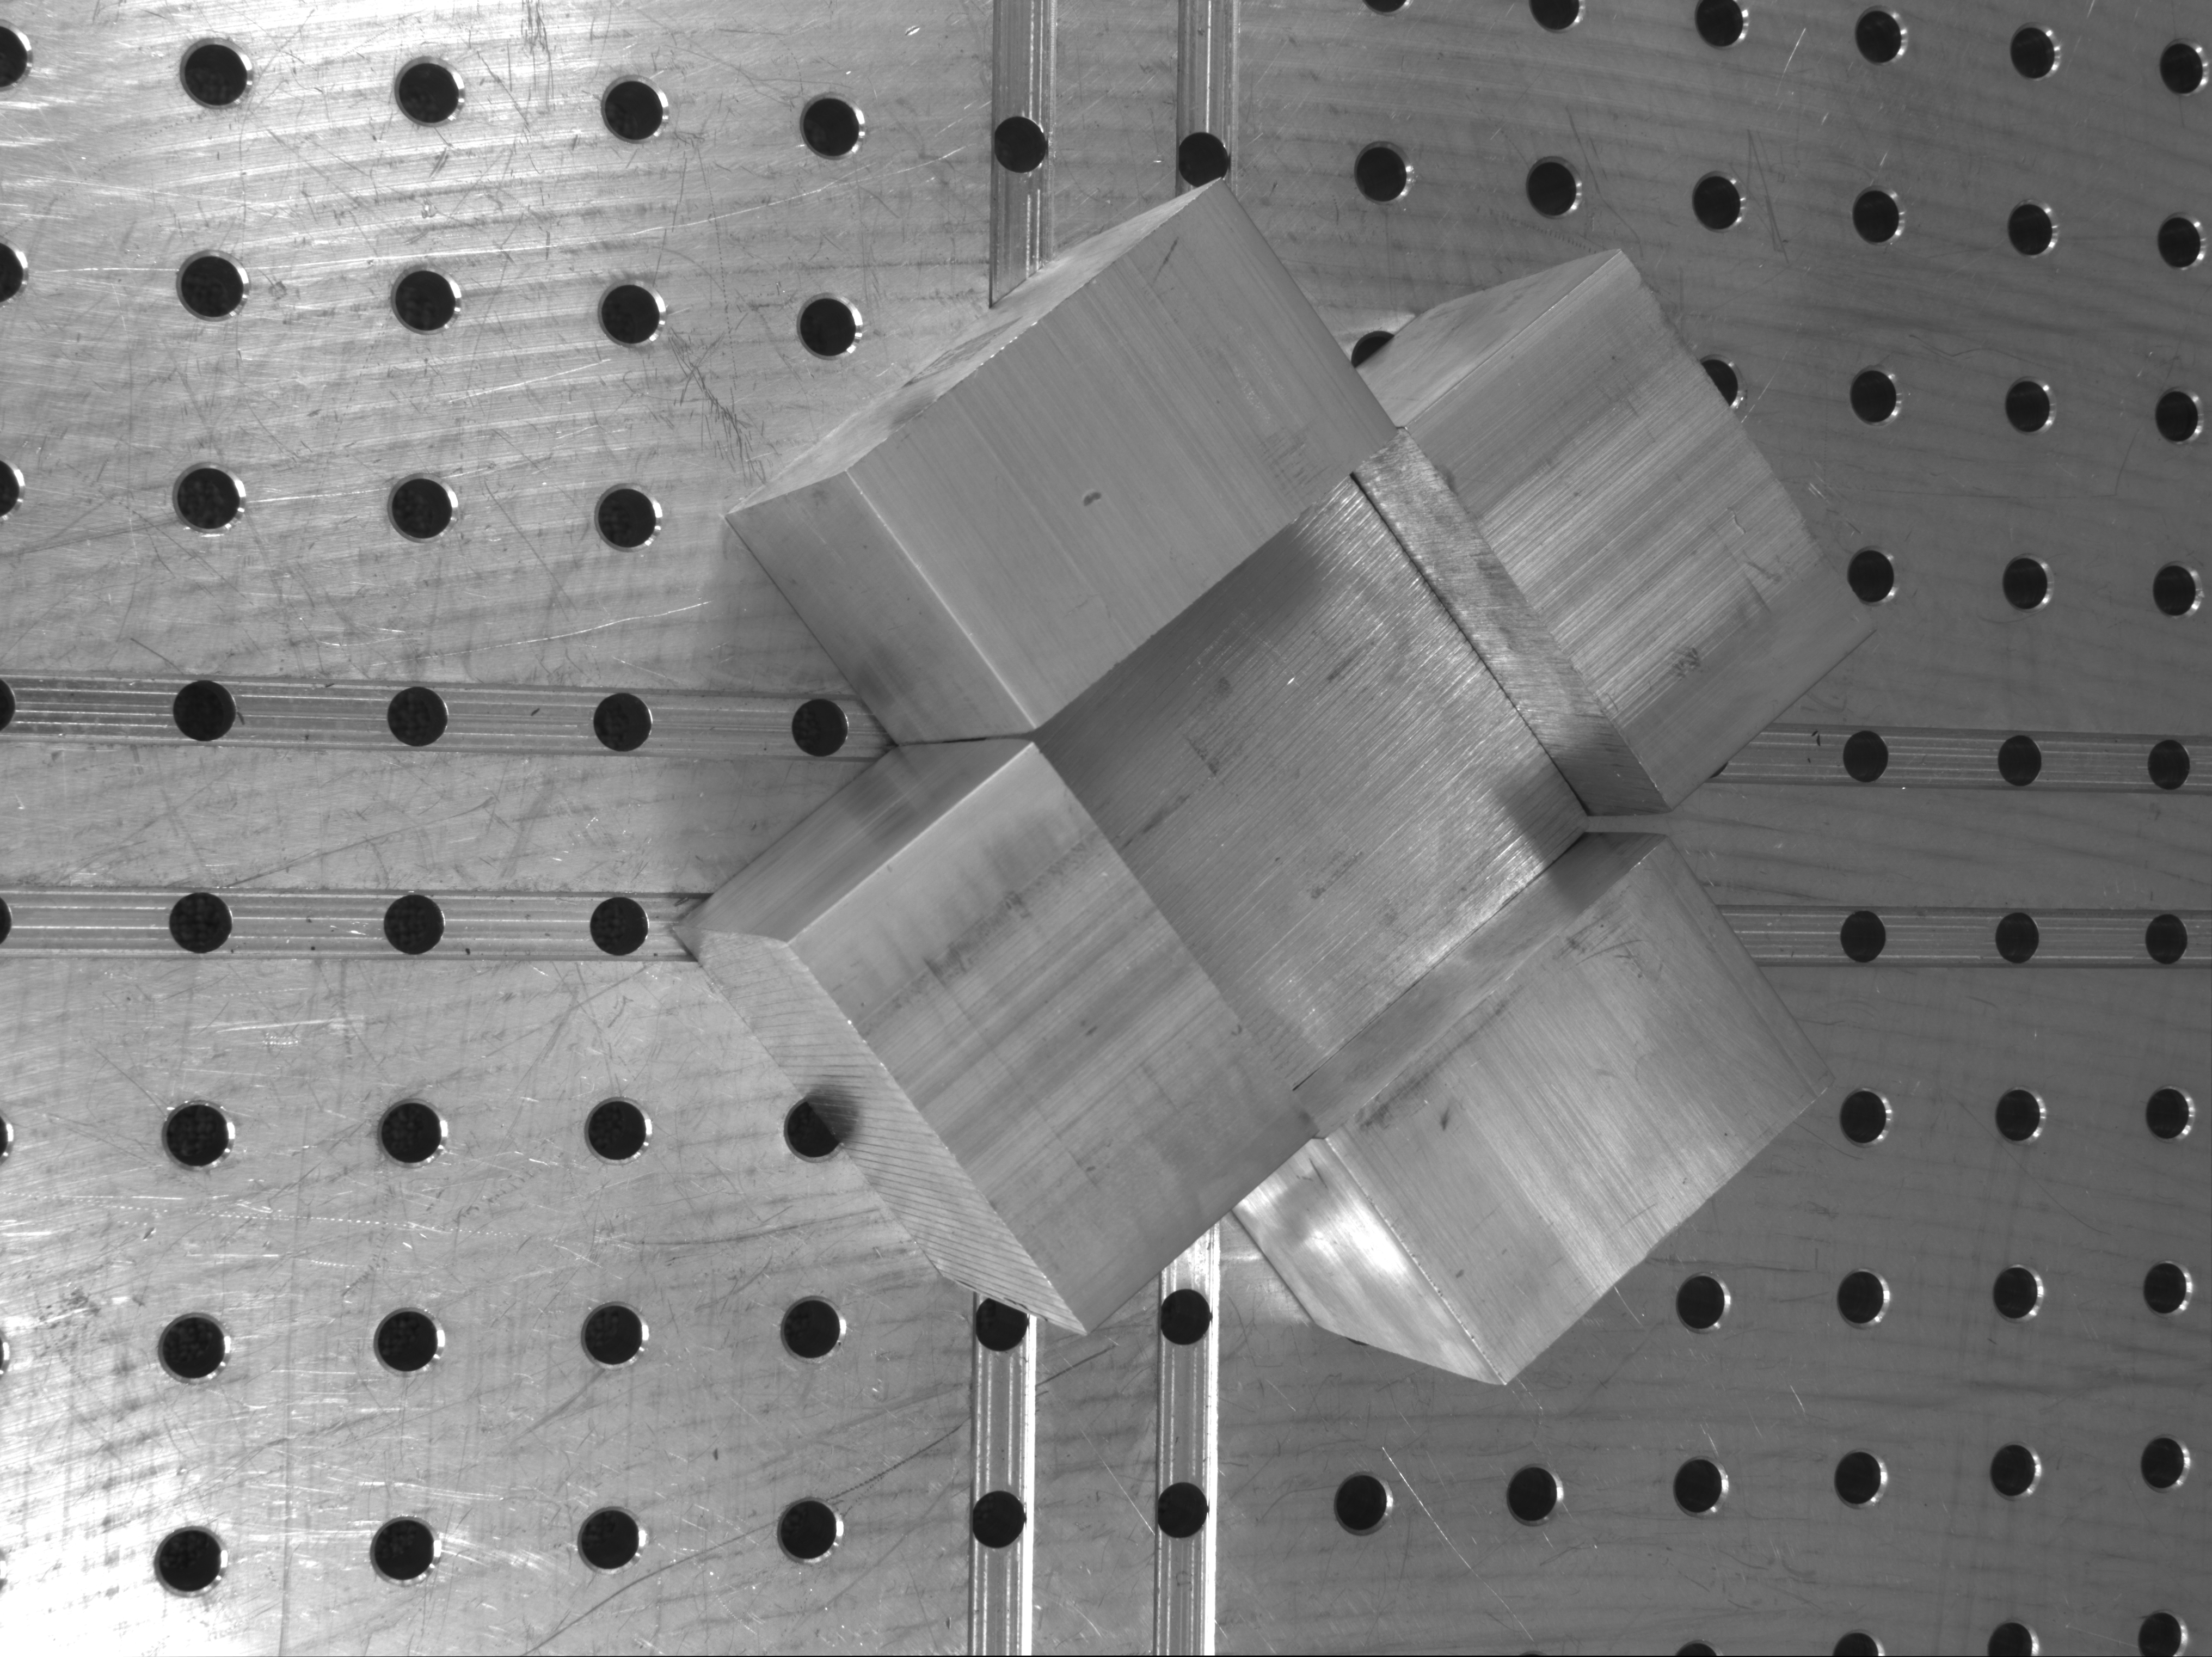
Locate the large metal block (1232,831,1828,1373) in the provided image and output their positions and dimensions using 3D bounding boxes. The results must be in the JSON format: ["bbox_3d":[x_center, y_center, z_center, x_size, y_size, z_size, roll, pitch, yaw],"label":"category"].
[{"bbox_3d":[0.064,0.045,0.641,0.080,0.080,0.050,-39,102,-16],"label":"large metal block"}]

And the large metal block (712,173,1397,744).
[{"bbox_3d":[-0.011,-0.059,0.613,0.080,0.080,0.050,-40,102,-15],"label":"large metal block"}]

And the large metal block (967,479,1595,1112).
[{"bbox_3d":[0.023,-0.008,0.640,0.080,0.050,0.080,-39,101,-14],"label":"large metal block"}]

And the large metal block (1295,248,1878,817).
[{"bbox_3d":[0.075,-0.049,0.644,0.050,0.080,0.080,-40,103,-16],"label":"large metal block"}]

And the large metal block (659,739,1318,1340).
[{"bbox_3d":[-0.021,0.033,0.609,0.050,0.080,0.080,-40,103,-15],"label":"large metal block"}]
